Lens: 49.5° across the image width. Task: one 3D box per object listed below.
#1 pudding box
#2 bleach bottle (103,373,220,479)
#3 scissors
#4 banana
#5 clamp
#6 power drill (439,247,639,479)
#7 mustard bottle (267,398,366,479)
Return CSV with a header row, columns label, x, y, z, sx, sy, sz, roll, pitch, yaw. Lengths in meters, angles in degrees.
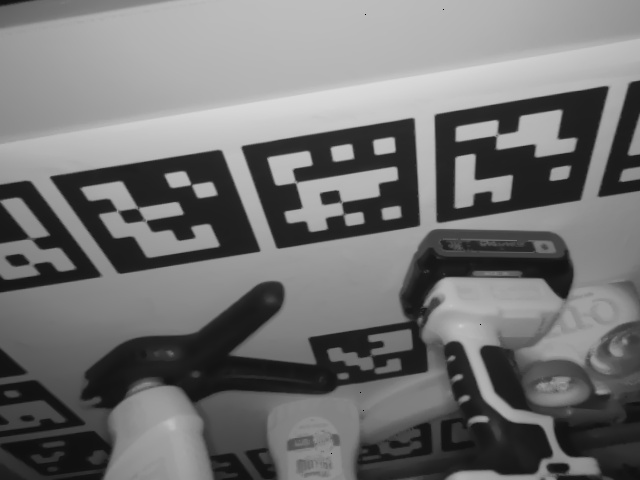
label,x,y,z,sx,sy,sz,roll,pitch,yaw
pudding box,0.222,0.085,0.561,0.114,0.090,0.038,-4,145,-2
bleach bottle,-0.119,0.196,0.498,0.102,0.251,0.068,-25,139,10
scissors,0.236,0.136,0.523,0.204,0.016,0.086,13,131,-14
banana,0.104,0.185,0.687,0.194,0.039,0.075,-37,147,29
clamp,-0.094,0.103,0.556,0.202,0.037,0.164,-11,136,7
power drill,0.160,0.094,0.447,0.186,0.188,0.056,0,145,-11
mustard bottle,0.000,0.238,0.633,0.097,0.193,0.058,3,138,-8
